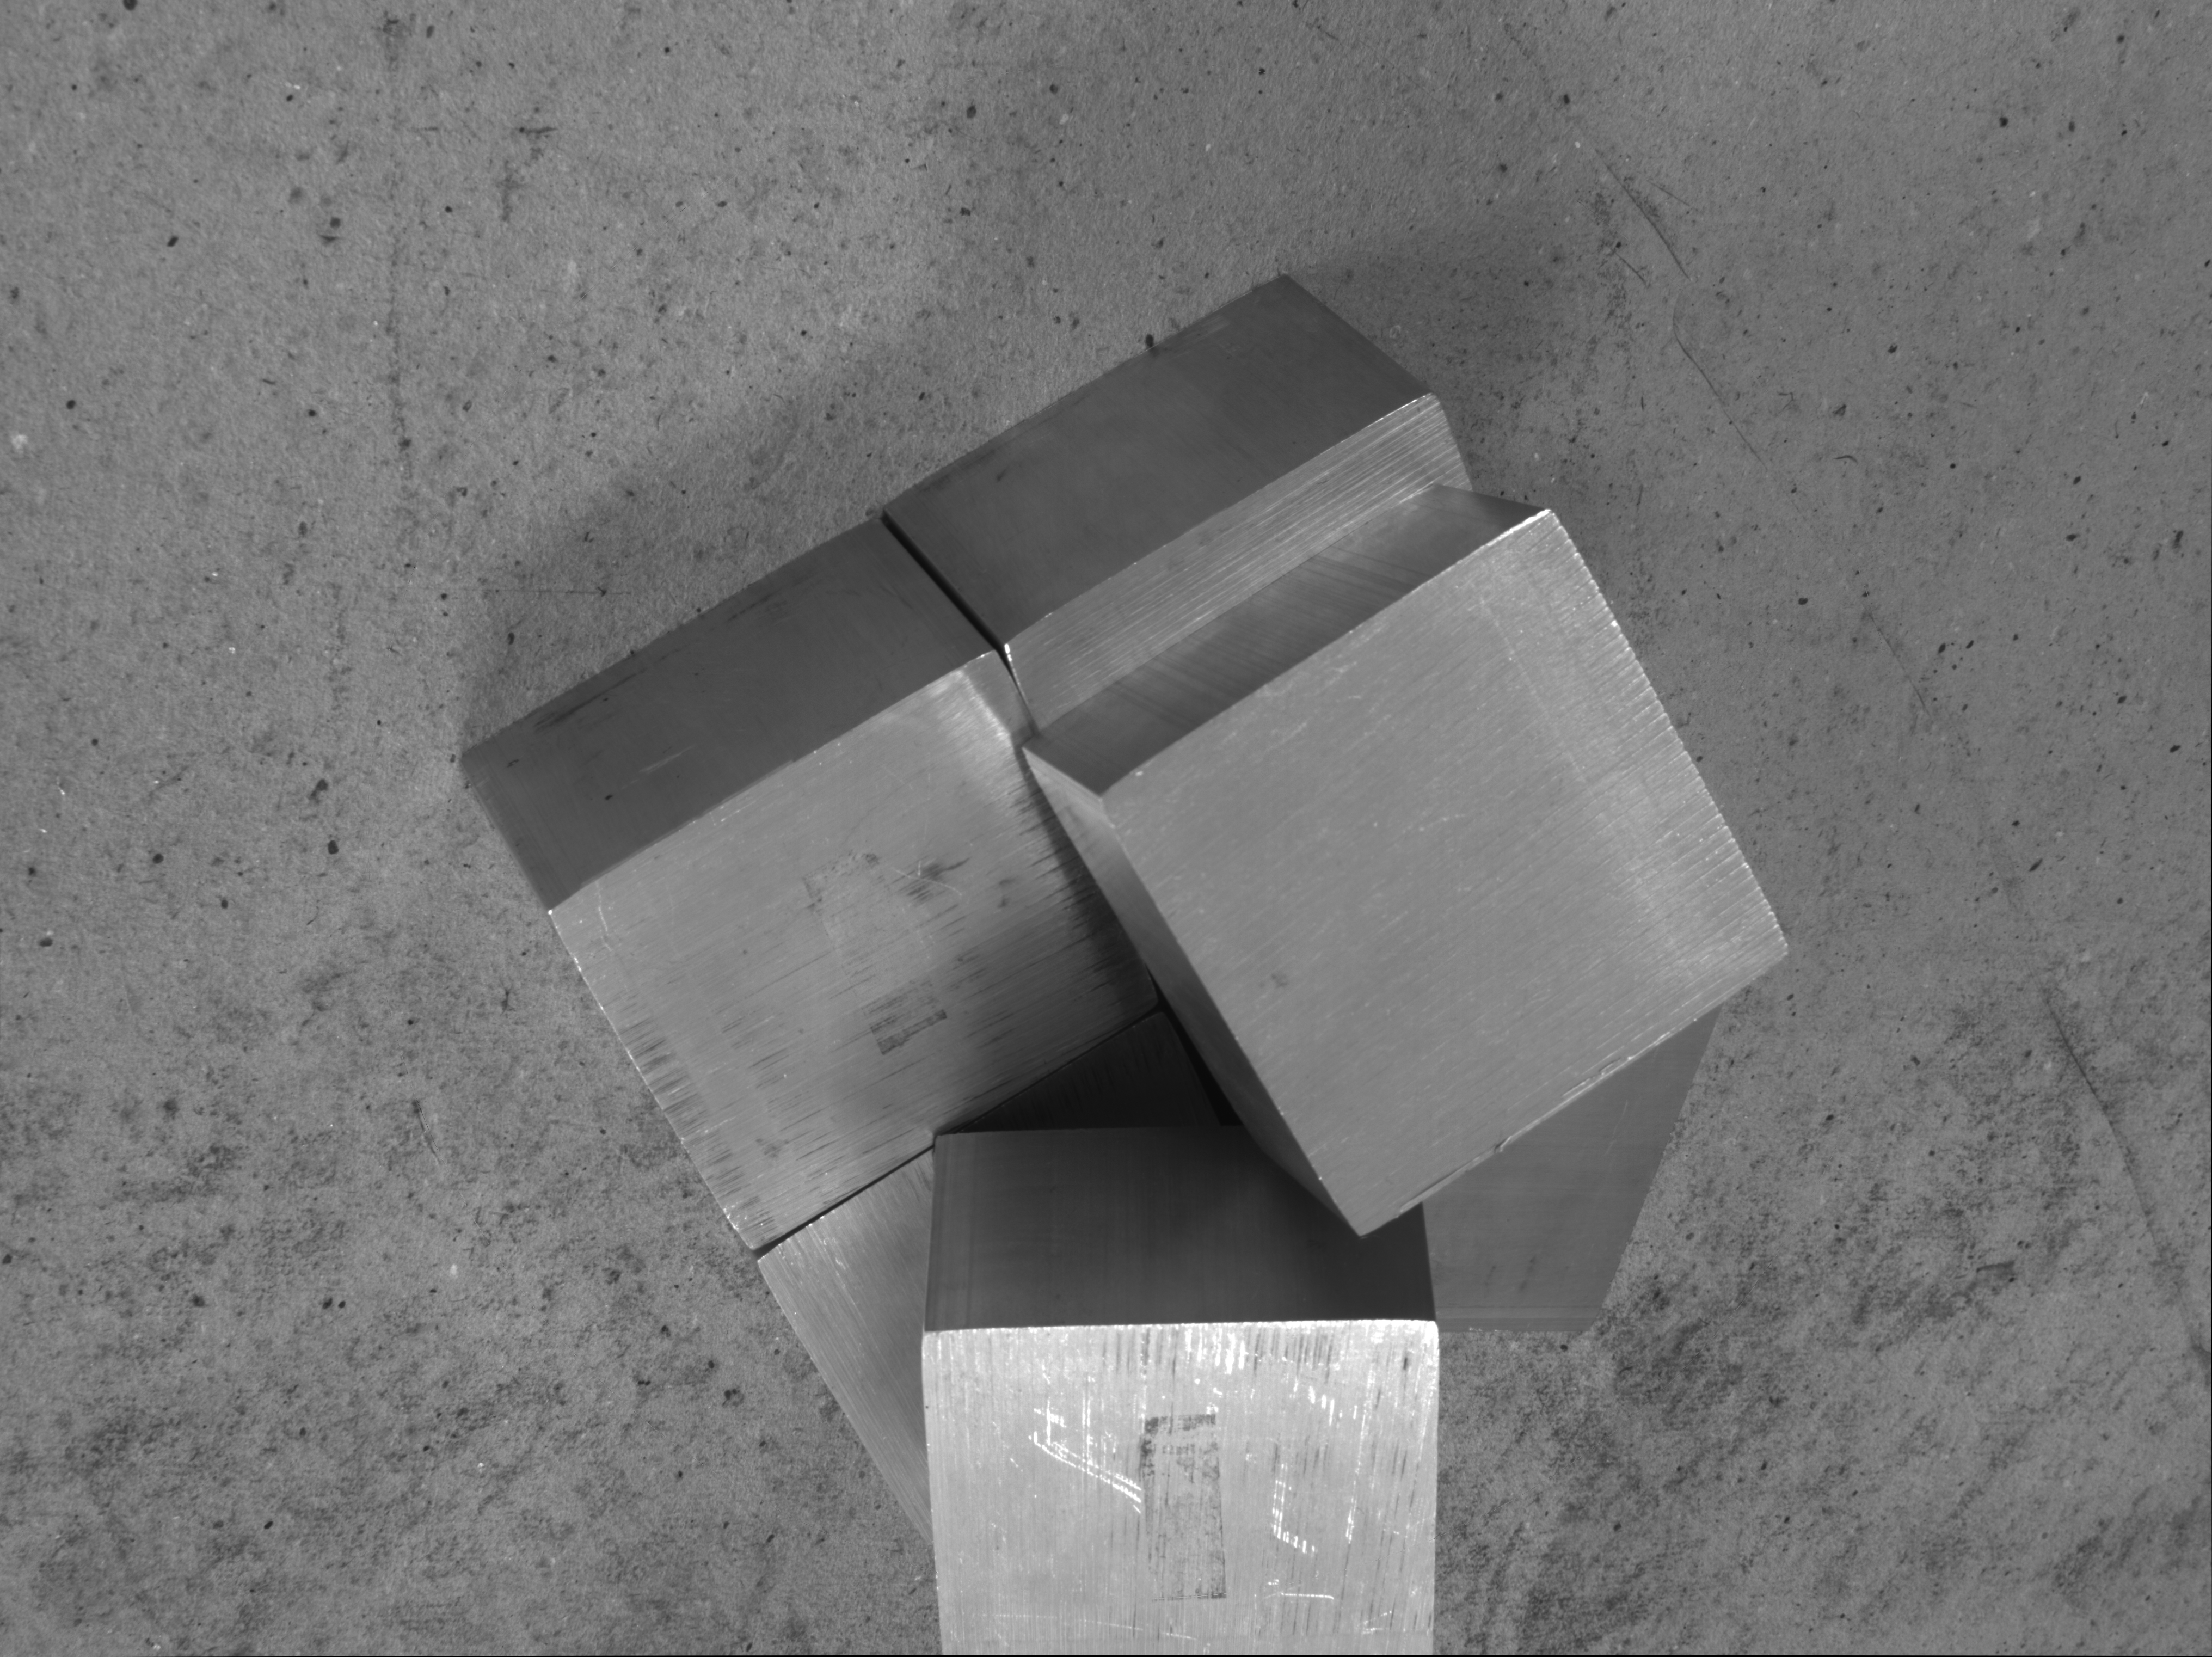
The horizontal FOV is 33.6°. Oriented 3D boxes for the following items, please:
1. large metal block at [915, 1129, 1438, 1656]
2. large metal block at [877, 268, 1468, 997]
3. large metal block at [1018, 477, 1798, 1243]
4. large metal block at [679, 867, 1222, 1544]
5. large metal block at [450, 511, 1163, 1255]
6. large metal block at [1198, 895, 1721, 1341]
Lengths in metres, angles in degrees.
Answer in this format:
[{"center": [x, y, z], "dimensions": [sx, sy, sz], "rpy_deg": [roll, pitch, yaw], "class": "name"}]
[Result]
[{"center": [0.012, 0.097, 0.603], "dimensions": [0.080, 0.050, 0.080], "rpy_deg": [-2, 123, 1], "class": "large metal block"}, {"center": [0.020, -0.032, 0.611], "dimensions": [0.080, 0.050, 0.080], "rpy_deg": [-32, 128, -9], "class": "large metal block"}, {"center": [0.046, 0.003, 0.563], "dimensions": [0.080, 0.050, 0.080], "rpy_deg": [-33, 106, -7], "class": "large metal block"}, {"center": [-0.021, 0.066, 0.651], "dimensions": [0.080, 0.050, 0.080], "rpy_deg": [-31, 128, -8], "class": "large metal block"}, {"center": [-0.048, 0.009, 0.602], "dimensions": [0.080, 0.050, 0.080], "rpy_deg": [-31, 129, -8], "class": "large metal block"}, {"center": [0.059, 0.035, 0.656], "dimensions": [0.050, 0.080, 0.080], "rpy_deg": [4, 117, -30], "class": "large metal block"}]
